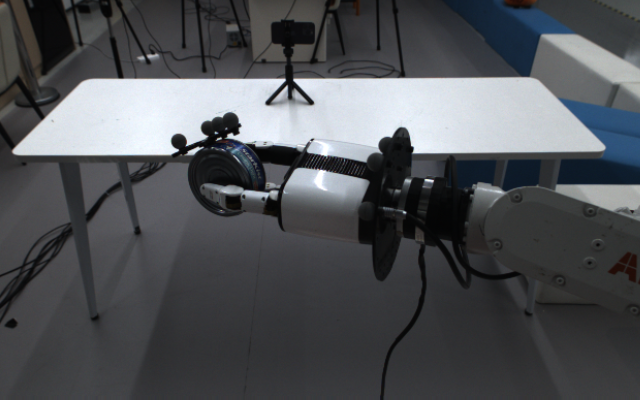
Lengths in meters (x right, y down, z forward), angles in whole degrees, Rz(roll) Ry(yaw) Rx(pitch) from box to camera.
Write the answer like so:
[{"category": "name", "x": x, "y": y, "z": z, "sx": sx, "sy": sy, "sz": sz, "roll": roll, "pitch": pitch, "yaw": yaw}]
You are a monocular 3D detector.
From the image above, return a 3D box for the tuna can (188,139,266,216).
[{"category": "tuna can", "x": -0.103, "y": -0.019, "z": 0.552, "sx": 0.085, "sy": 0.085, "sz": 0.034, "roll": 14, "pitch": 30, "yaw": 17}]
